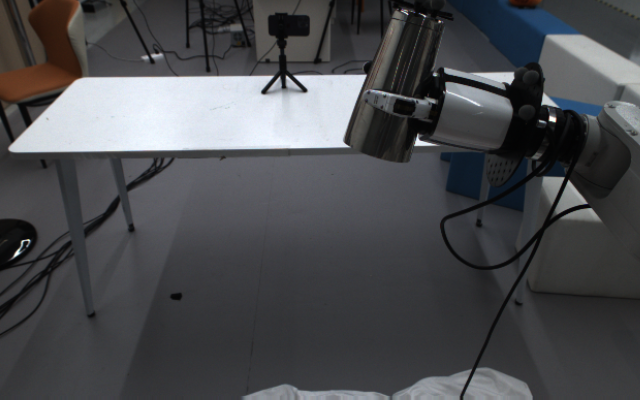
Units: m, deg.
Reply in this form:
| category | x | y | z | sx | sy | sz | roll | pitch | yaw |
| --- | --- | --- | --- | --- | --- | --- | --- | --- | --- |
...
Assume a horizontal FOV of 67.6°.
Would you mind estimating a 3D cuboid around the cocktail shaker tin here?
| category | x | y | z | sx | sy | sz | roll | pitch | yaw |
| --- | --- | --- | --- | --- | --- | --- | --- | --- | --- |
| cocktail shaker tin | 0.097 | -0.144 | 0.608 | 0.093 | 0.170 | 0.093 | 15 | 19 | -5 |
